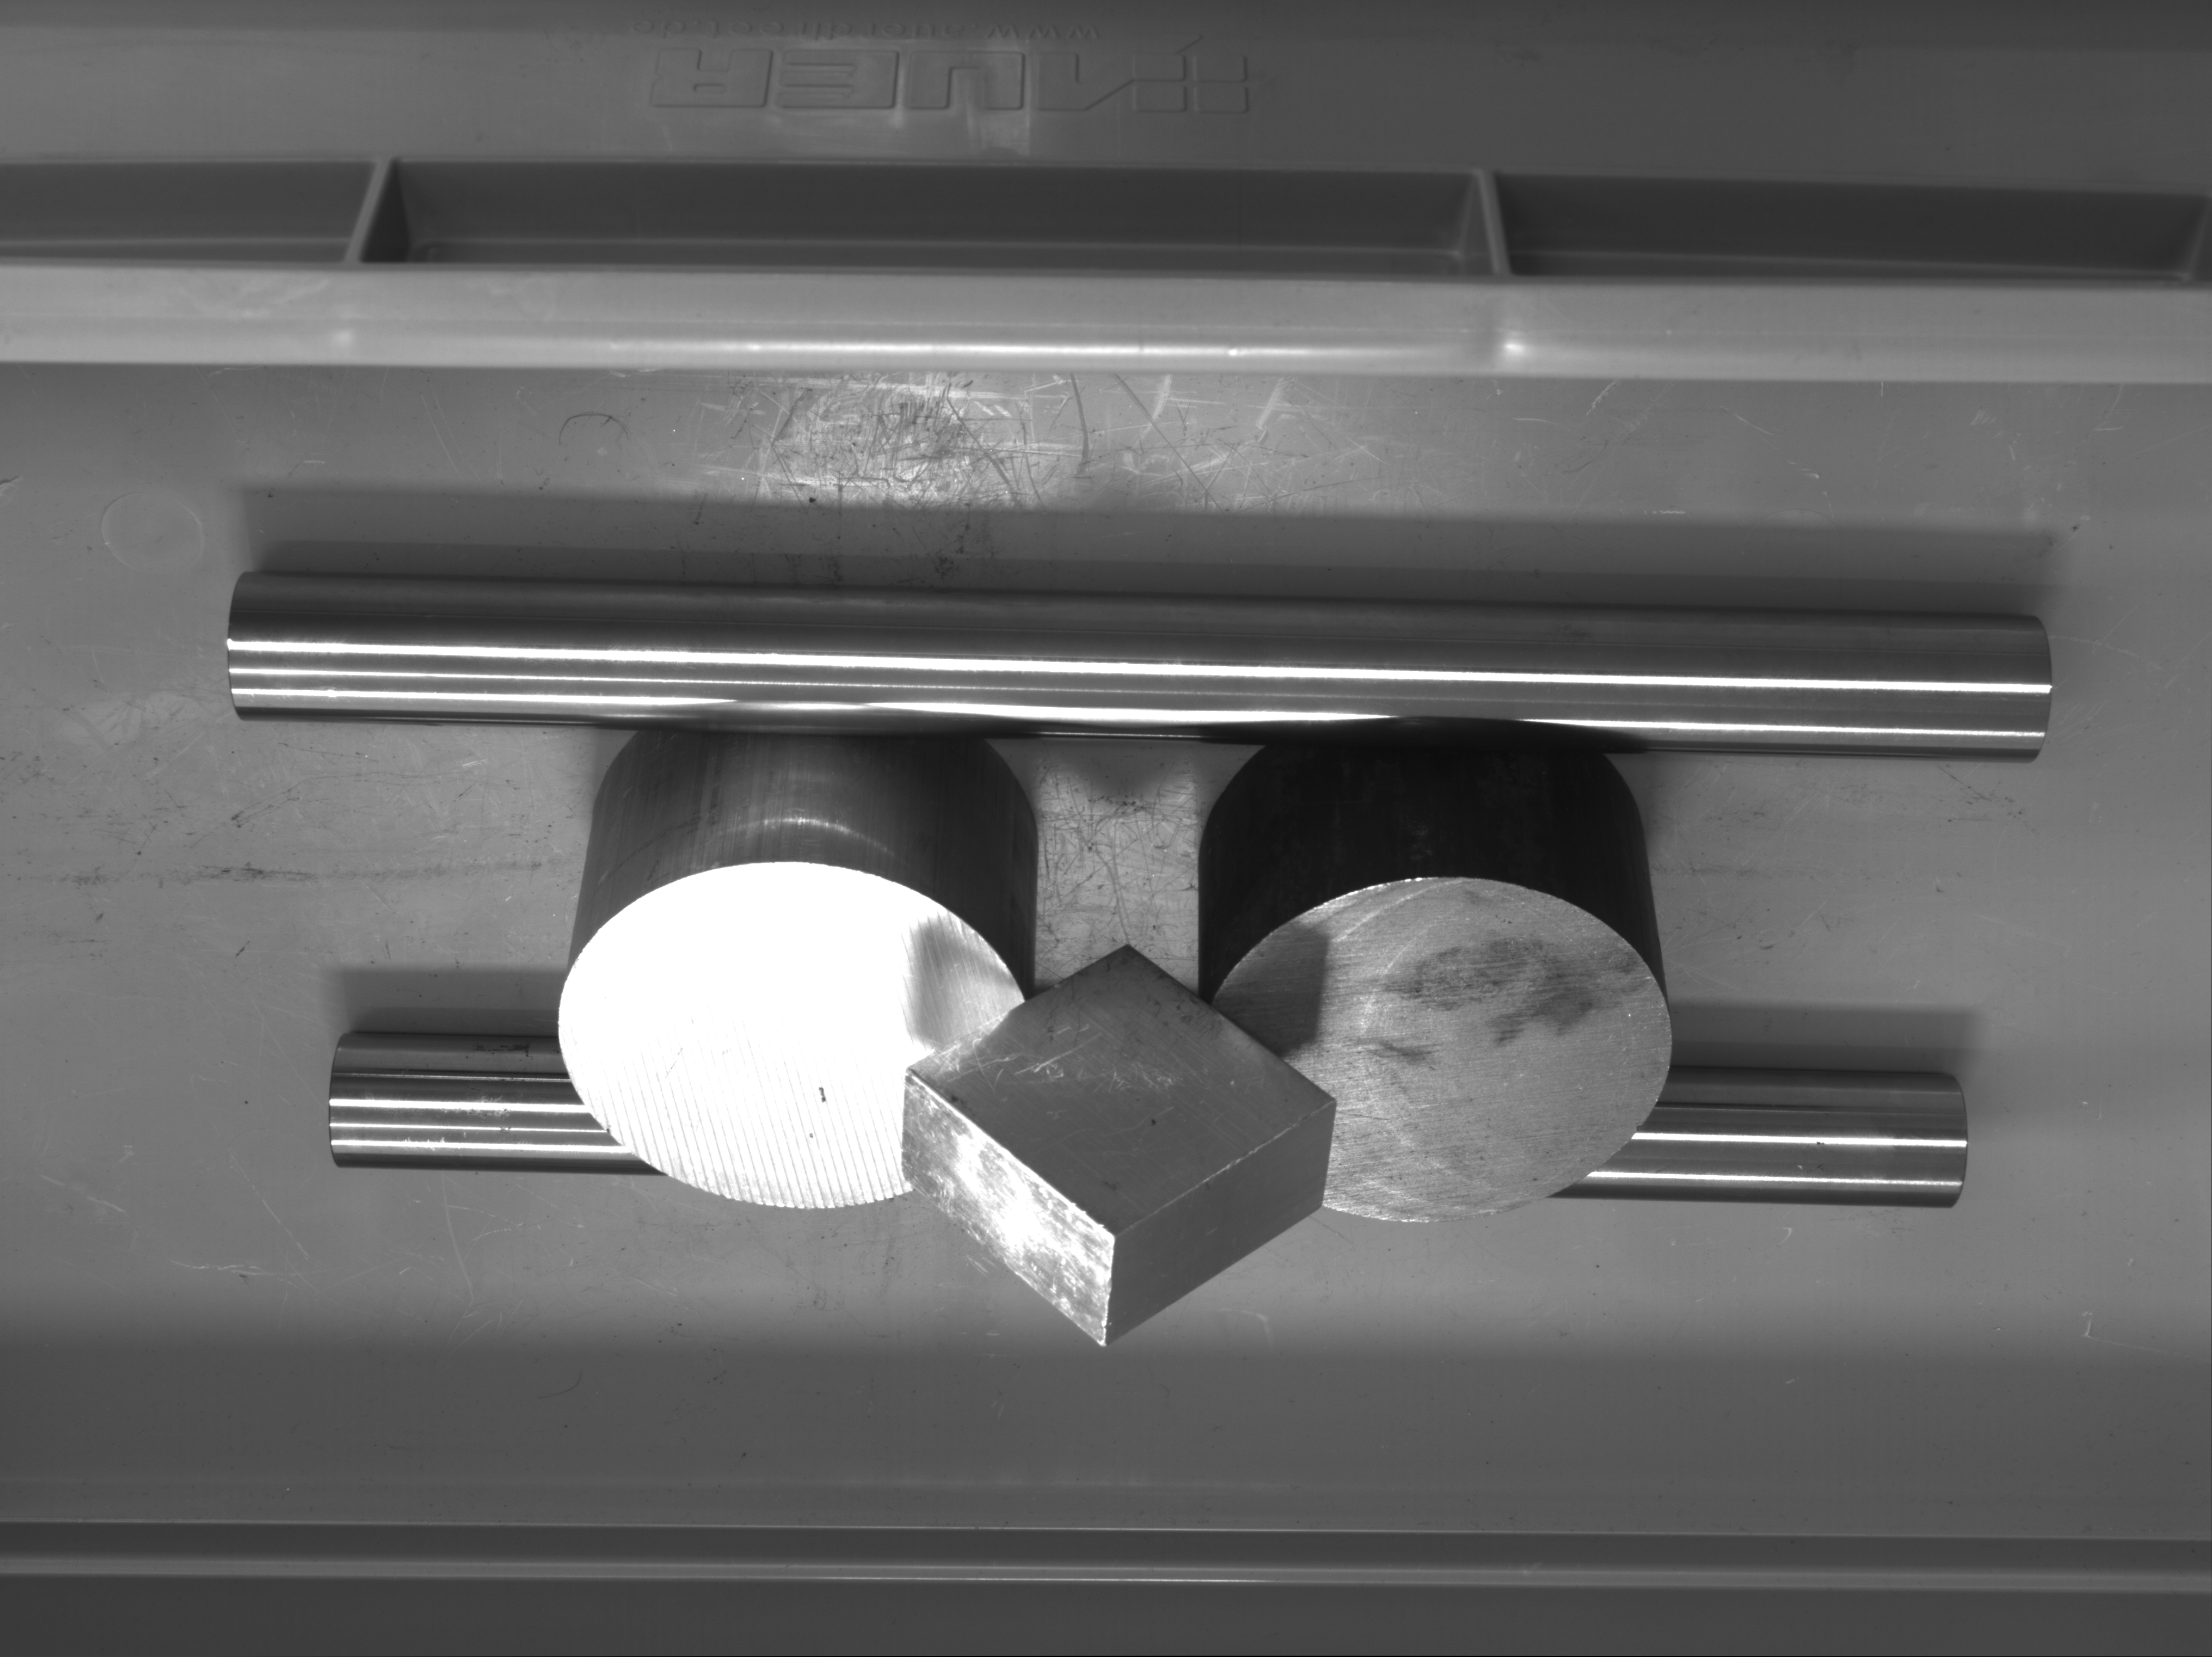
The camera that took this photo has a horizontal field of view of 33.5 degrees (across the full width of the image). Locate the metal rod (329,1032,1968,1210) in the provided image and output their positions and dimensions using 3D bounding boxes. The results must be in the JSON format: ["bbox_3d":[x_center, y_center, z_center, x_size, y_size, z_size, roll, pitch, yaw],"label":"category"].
[{"bbox_3d":[0.008,0.055,0.684,0.300,0.025,0.025,2,130,-2],"label":"metal rod"}]

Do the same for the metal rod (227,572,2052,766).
[{"bbox_3d":[0.006,-0.027,0.616,0.300,0.025,0.025,1,130,-1],"label":"metal rod"}]

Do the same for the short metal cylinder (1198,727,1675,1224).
[{"bbox_3d":[0.056,0.023,0.642,0.080,0.050,0.080,0,130,0],"label":"short metal cylinder"}]

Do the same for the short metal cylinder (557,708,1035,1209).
[{"bbox_3d":[-0.052,0.020,0.639,0.080,0.050,0.080,0,130,0],"label":"short metal cylinder"}]

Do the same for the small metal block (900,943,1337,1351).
[{"bbox_3d":[0.002,0.051,0.605,0.050,0.050,0.025,-29,139,-34],"label":"small metal block"}]
